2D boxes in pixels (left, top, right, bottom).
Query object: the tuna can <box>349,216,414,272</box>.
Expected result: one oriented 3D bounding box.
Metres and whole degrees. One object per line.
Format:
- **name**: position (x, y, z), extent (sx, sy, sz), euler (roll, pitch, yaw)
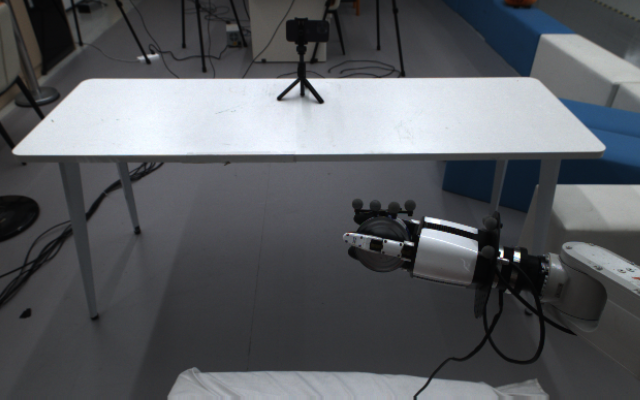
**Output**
- **tuna can**: position (0.098, 0.069, 0.734), extent (0.085, 0.085, 0.034), euler (12, 8, 14)
